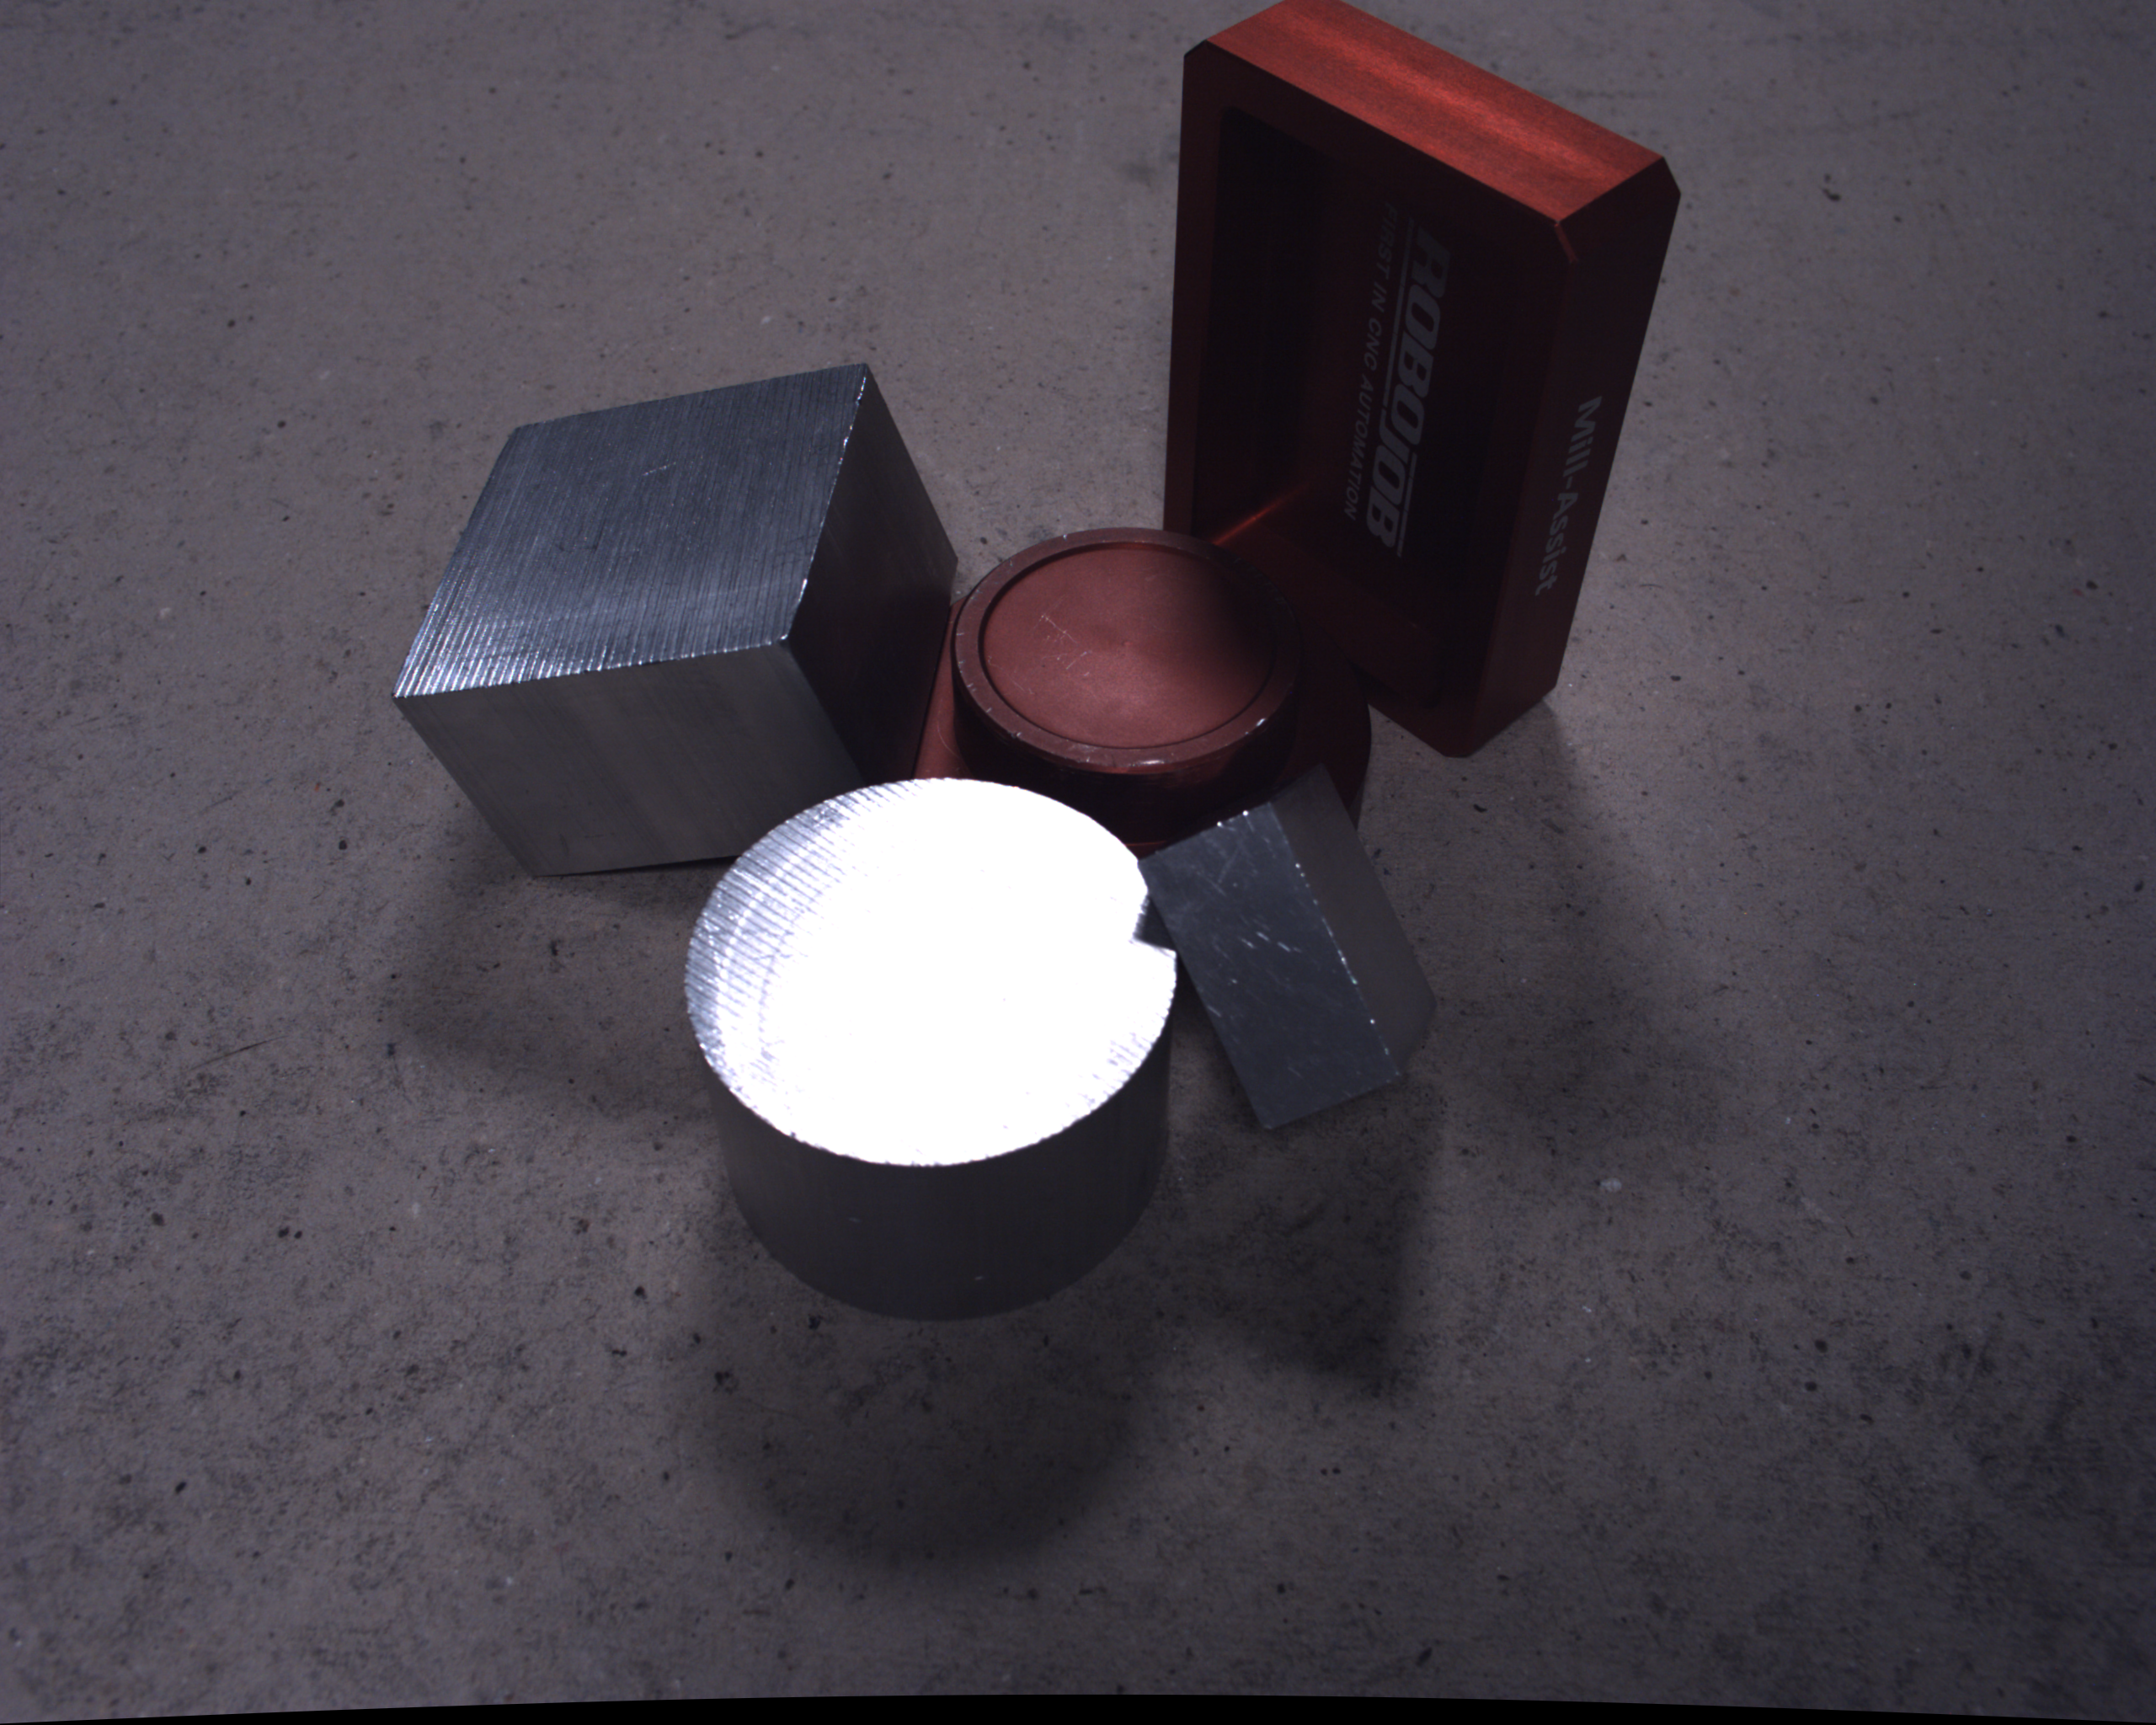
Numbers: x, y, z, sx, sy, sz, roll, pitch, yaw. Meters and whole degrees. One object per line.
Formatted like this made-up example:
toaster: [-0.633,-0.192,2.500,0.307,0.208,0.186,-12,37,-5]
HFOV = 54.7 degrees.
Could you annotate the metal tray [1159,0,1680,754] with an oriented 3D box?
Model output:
metal tray: [0.060,-0.094,0.414,0.030,0.129,0.090,-37,60,-27]

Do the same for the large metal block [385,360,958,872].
large metal block: [-0.076,-0.048,0.412,0.080,0.050,0.080,-6,48,17]

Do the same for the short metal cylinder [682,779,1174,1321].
short metal cylinder: [-0.025,0.032,0.362,0.081,0.050,0.080,0,50,0]

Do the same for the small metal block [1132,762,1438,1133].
small metal block: [0.038,0.013,0.364,0.025,0.050,0.050,-25,92,19]

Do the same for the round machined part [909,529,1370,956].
round machined part: [0.009,-0.029,0.420,0.099,0.042,0.098,0,50,0]
